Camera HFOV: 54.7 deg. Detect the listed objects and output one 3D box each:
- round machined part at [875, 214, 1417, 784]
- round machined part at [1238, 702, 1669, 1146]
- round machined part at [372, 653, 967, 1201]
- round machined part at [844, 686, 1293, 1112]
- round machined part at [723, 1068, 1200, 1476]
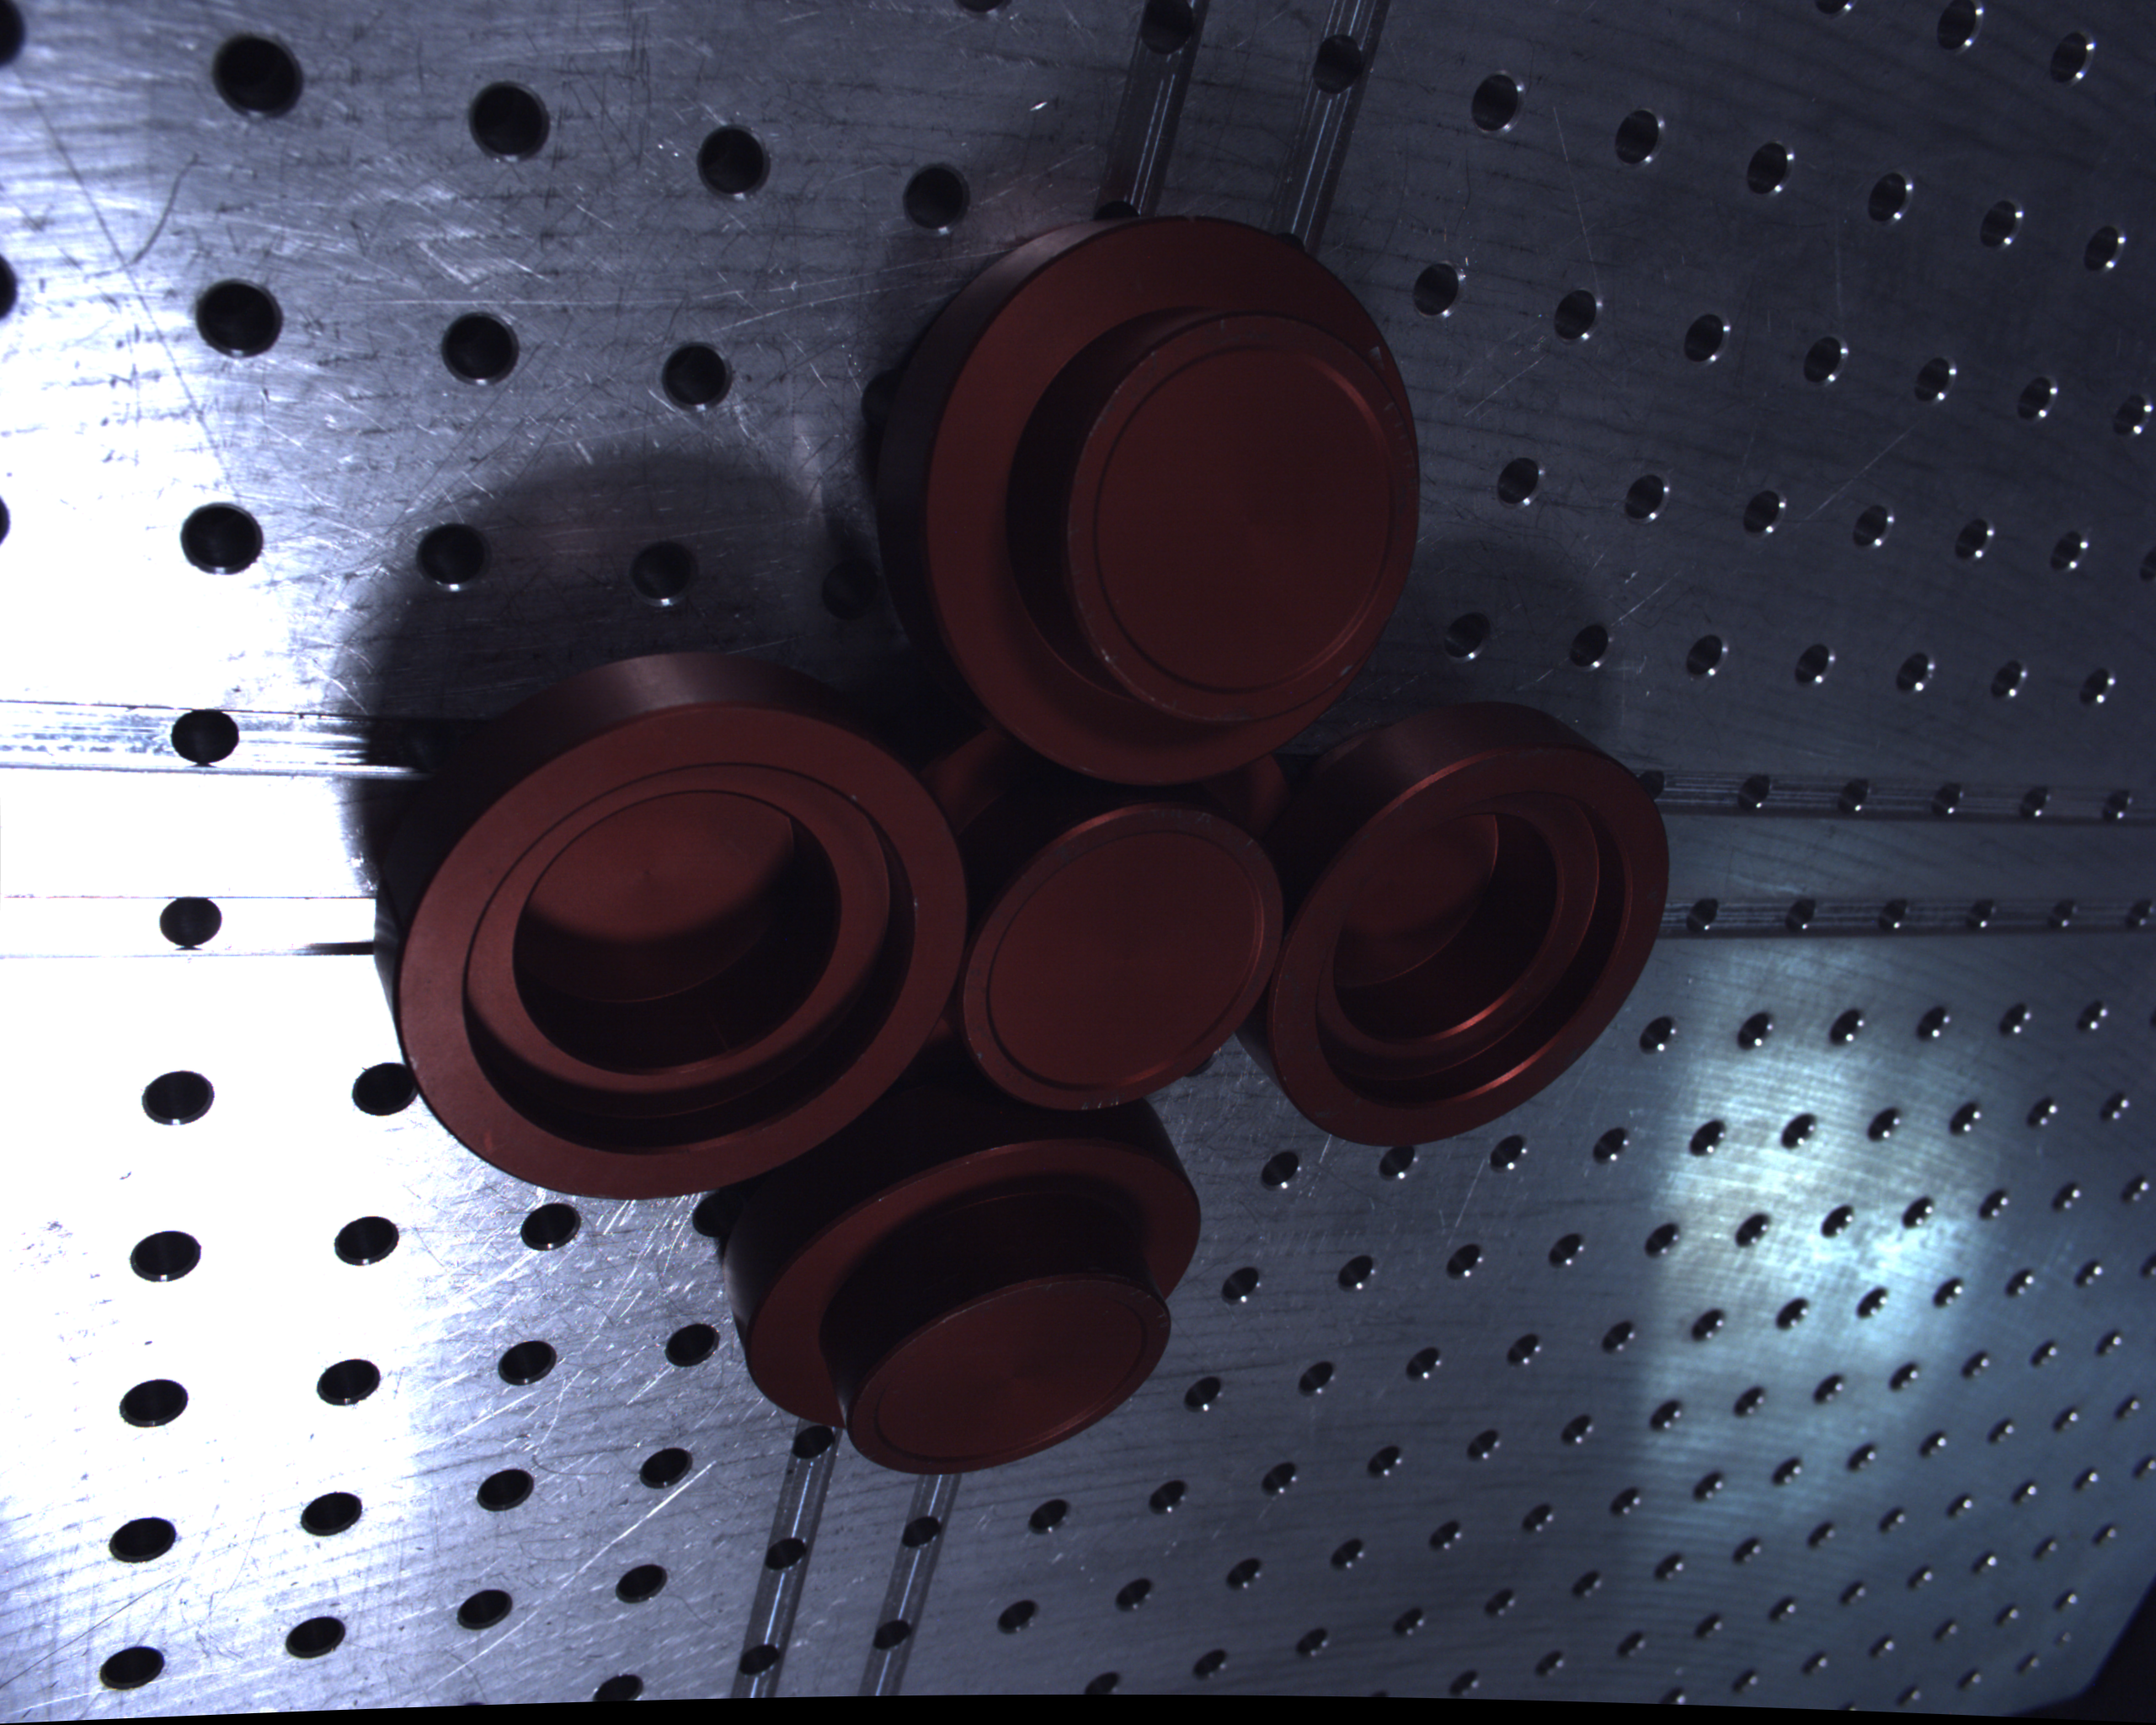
[{"bbox_3d":[0.018,-0.061,0.359,0.099,0.042,0.097,-8,107,-25],"label":"round machined part"},{"bbox_3d":[0.074,0.009,0.448,0.099,0.042,0.097,-14,125,-21],"label":"round machined part"},{"bbox_3d":[-0.073,0.008,0.366,0.099,0.042,0.097,-14,125,-21],"label":"round machined part"},{"bbox_3d":[0.000,0.009,0.406,0.099,0.042,0.097,-14,125,-21],"label":"round machined part"},{"bbox_3d":[-0.020,0.090,0.431,0.099,0.042,0.097,-15,139,-14],"label":"round machined part"}]
